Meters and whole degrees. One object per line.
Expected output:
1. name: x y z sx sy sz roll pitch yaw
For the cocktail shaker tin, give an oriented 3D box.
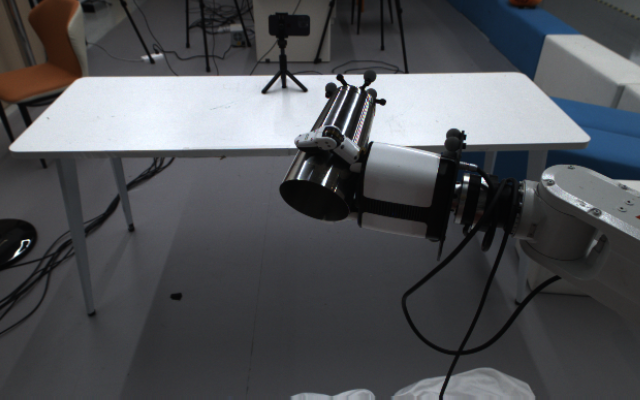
1. cocktail shaker tin: 0.019 -0.068 0.636 0.093 0.093 0.170 13 60 16
